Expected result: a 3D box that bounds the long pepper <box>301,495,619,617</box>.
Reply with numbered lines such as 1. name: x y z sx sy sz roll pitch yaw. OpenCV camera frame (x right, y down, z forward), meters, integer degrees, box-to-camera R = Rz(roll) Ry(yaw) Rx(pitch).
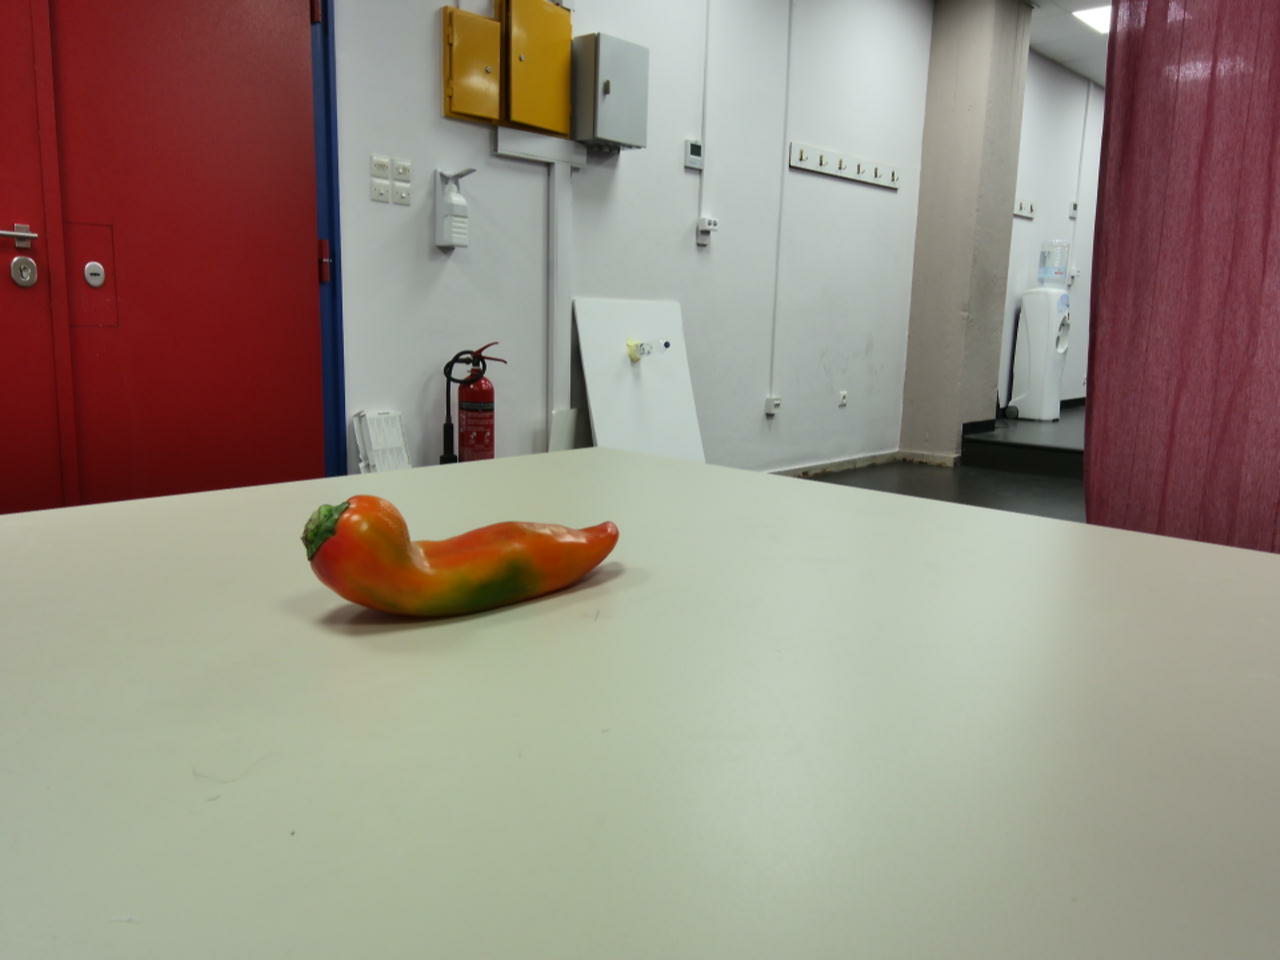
1. long pepper: -0.086 0.033 0.546 0.199 0.065 0.066 -6 10 -42
